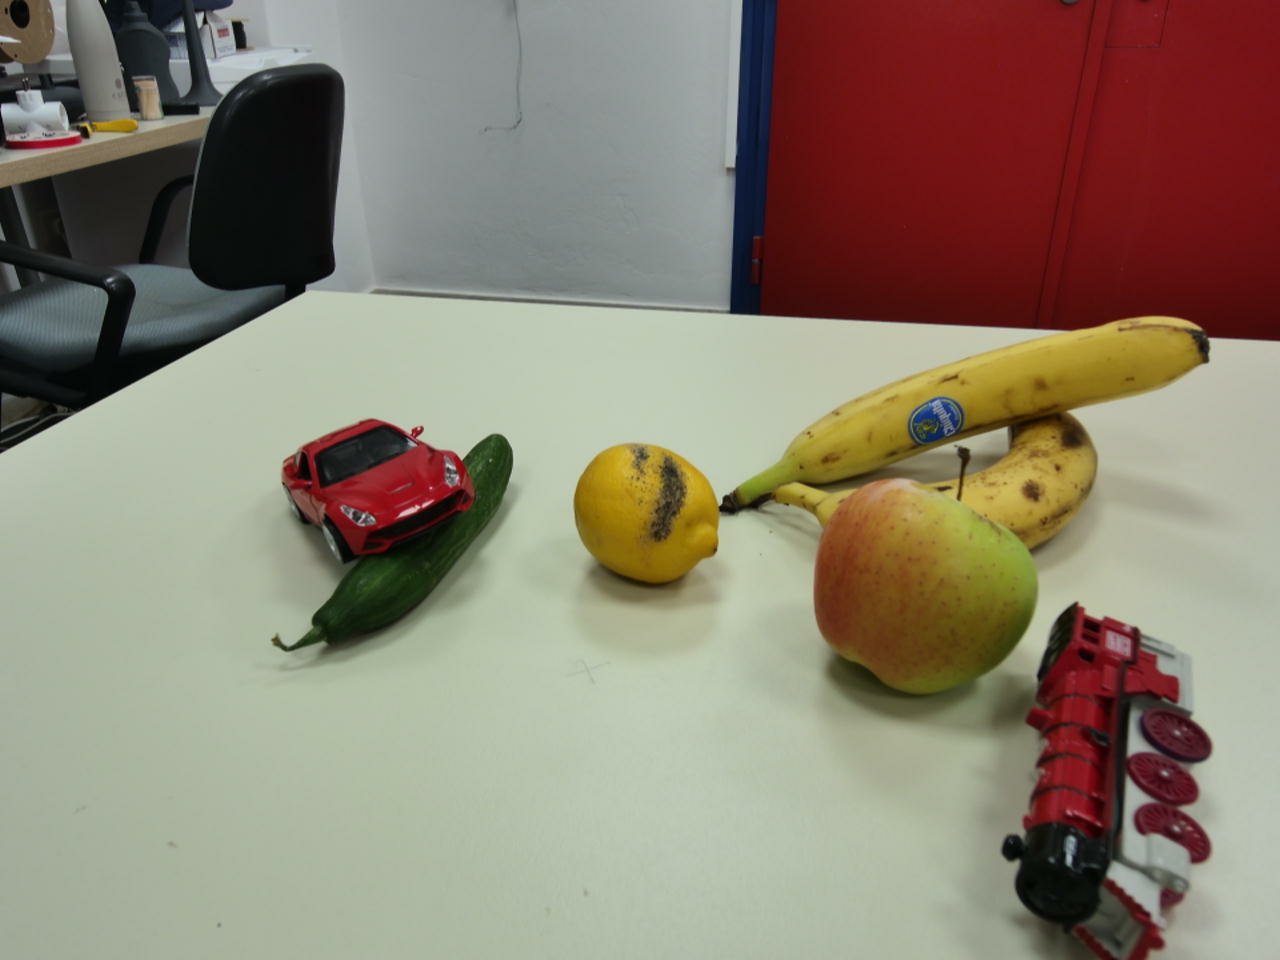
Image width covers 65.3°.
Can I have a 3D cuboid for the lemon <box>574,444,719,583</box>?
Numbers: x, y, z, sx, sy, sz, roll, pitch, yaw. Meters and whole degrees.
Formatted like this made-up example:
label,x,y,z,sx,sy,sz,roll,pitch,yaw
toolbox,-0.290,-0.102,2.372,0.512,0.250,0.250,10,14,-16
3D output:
label,x,y,z,sx,sy,sz,roll,pitch,yaw
lemon,0.003,0.013,0.419,0.061,0.056,0.058,2,24,5
